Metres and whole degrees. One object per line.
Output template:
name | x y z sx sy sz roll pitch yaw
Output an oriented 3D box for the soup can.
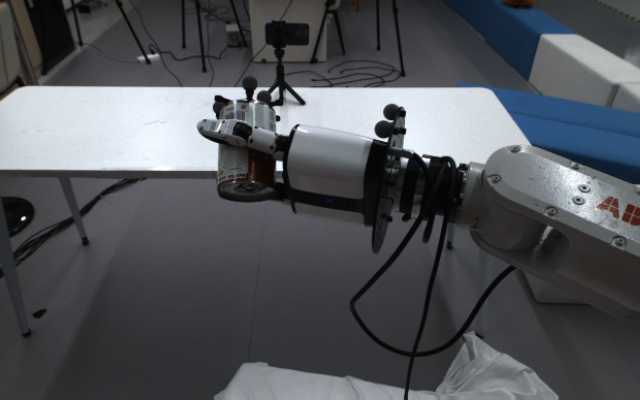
soup can | -0.082 -0.056 0.557 0.067 0.067 0.101 -2 71 -5
